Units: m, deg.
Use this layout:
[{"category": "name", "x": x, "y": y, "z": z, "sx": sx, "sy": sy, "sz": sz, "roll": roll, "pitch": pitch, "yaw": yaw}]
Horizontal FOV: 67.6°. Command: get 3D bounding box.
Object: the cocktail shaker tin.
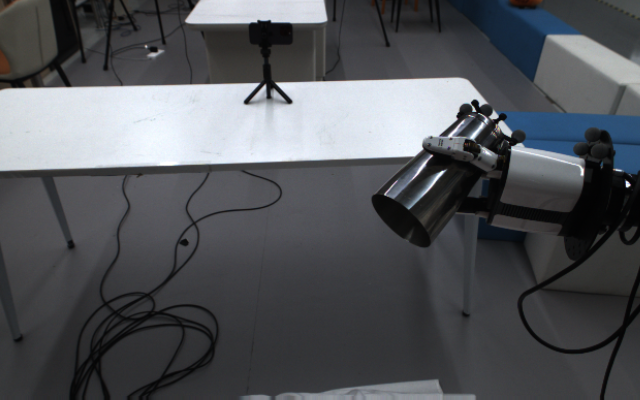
[{"category": "cocktail shaker tin", "x": 0.155, "y": -0.037, "z": 0.612, "sx": 0.170, "sy": 0.093, "sz": 0.093, "roll": -43, "pitch": 51, "yaw": -15}]
